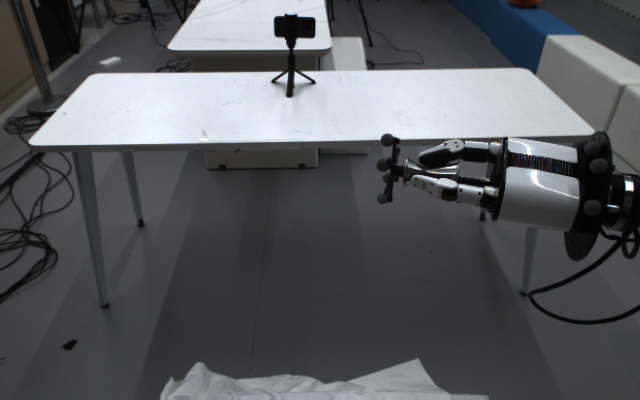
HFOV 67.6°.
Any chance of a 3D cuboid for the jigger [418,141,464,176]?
[{"bbox_3d":[0.152,-0.036,0.637,0.071,0.043,0.043,8,35,16],"label":"jigger"}]
